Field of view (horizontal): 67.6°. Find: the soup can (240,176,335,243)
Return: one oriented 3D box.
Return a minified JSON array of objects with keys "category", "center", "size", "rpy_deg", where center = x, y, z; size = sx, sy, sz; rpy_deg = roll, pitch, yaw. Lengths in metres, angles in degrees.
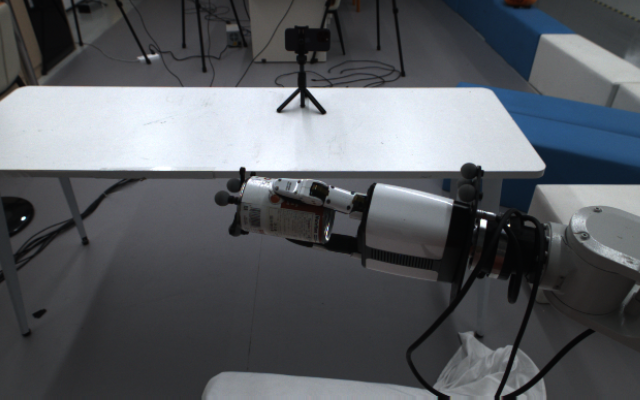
[{"category":"soup can","center":[-0.034,0.011,0.562],"size":[0.101,0.067,0.067],"rpy_deg":[8,35,10]}]
